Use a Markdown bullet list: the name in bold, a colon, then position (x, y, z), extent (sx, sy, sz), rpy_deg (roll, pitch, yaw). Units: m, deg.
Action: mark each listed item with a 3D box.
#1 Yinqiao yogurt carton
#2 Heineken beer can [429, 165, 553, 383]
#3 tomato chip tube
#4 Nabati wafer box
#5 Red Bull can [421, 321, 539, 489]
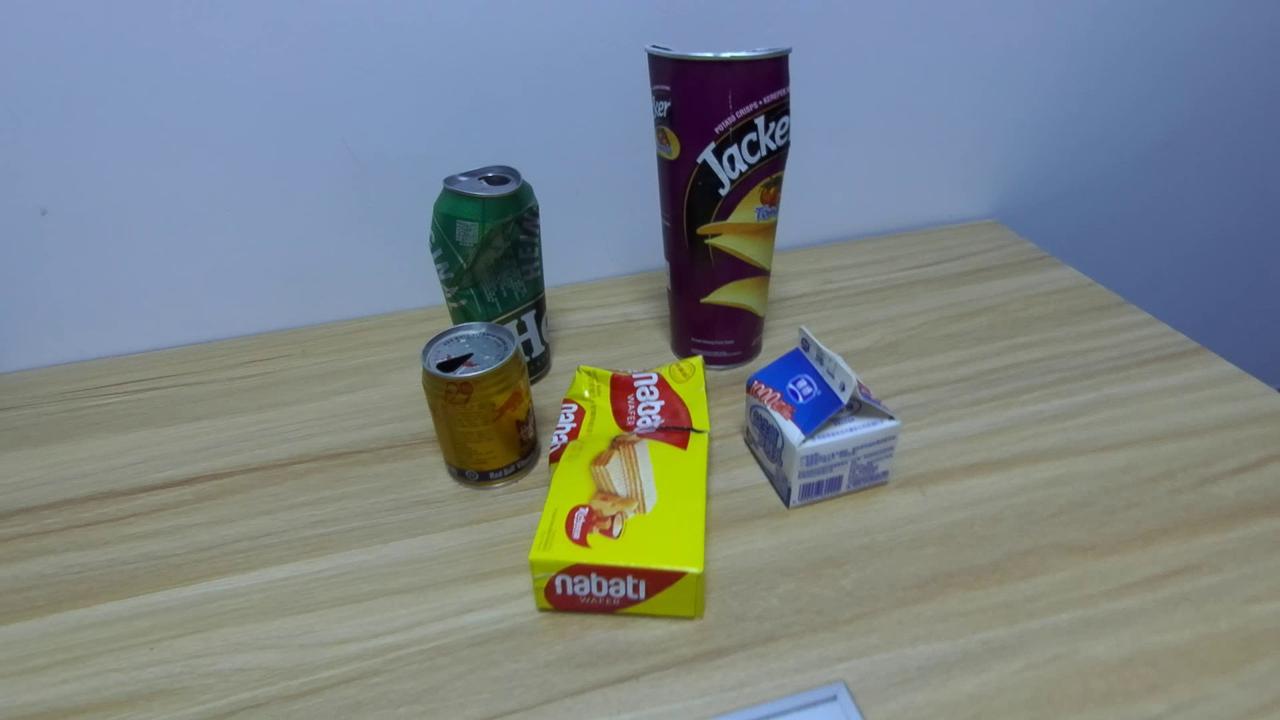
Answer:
- **Yinqiao yogurt carton**: position (0.113, 0.030, 0.443), extent (0.074, 0.092, 0.075), rpy_deg (-12, 35, -12)
- **Heineken beer can**: position (-0.109, -0.057, 0.527), extent (0.078, 0.164, 0.066), rpy_deg (-6, 36, -8)
- **tomato chip tube**: position (0.058, -0.108, 0.523), extent (0.076, 0.235, 0.077), rpy_deg (-21, 37, -24)
- **Nabati wafer box**: position (-0.009, 0.065, 0.450), extent (0.107, 0.042, 0.204), rpy_deg (1, 34, 4)
- **Red Bull can**: position (-0.104, 0.030, 0.465), extent (0.067, 0.093, 0.067), rpy_deg (-2, 35, 1)
